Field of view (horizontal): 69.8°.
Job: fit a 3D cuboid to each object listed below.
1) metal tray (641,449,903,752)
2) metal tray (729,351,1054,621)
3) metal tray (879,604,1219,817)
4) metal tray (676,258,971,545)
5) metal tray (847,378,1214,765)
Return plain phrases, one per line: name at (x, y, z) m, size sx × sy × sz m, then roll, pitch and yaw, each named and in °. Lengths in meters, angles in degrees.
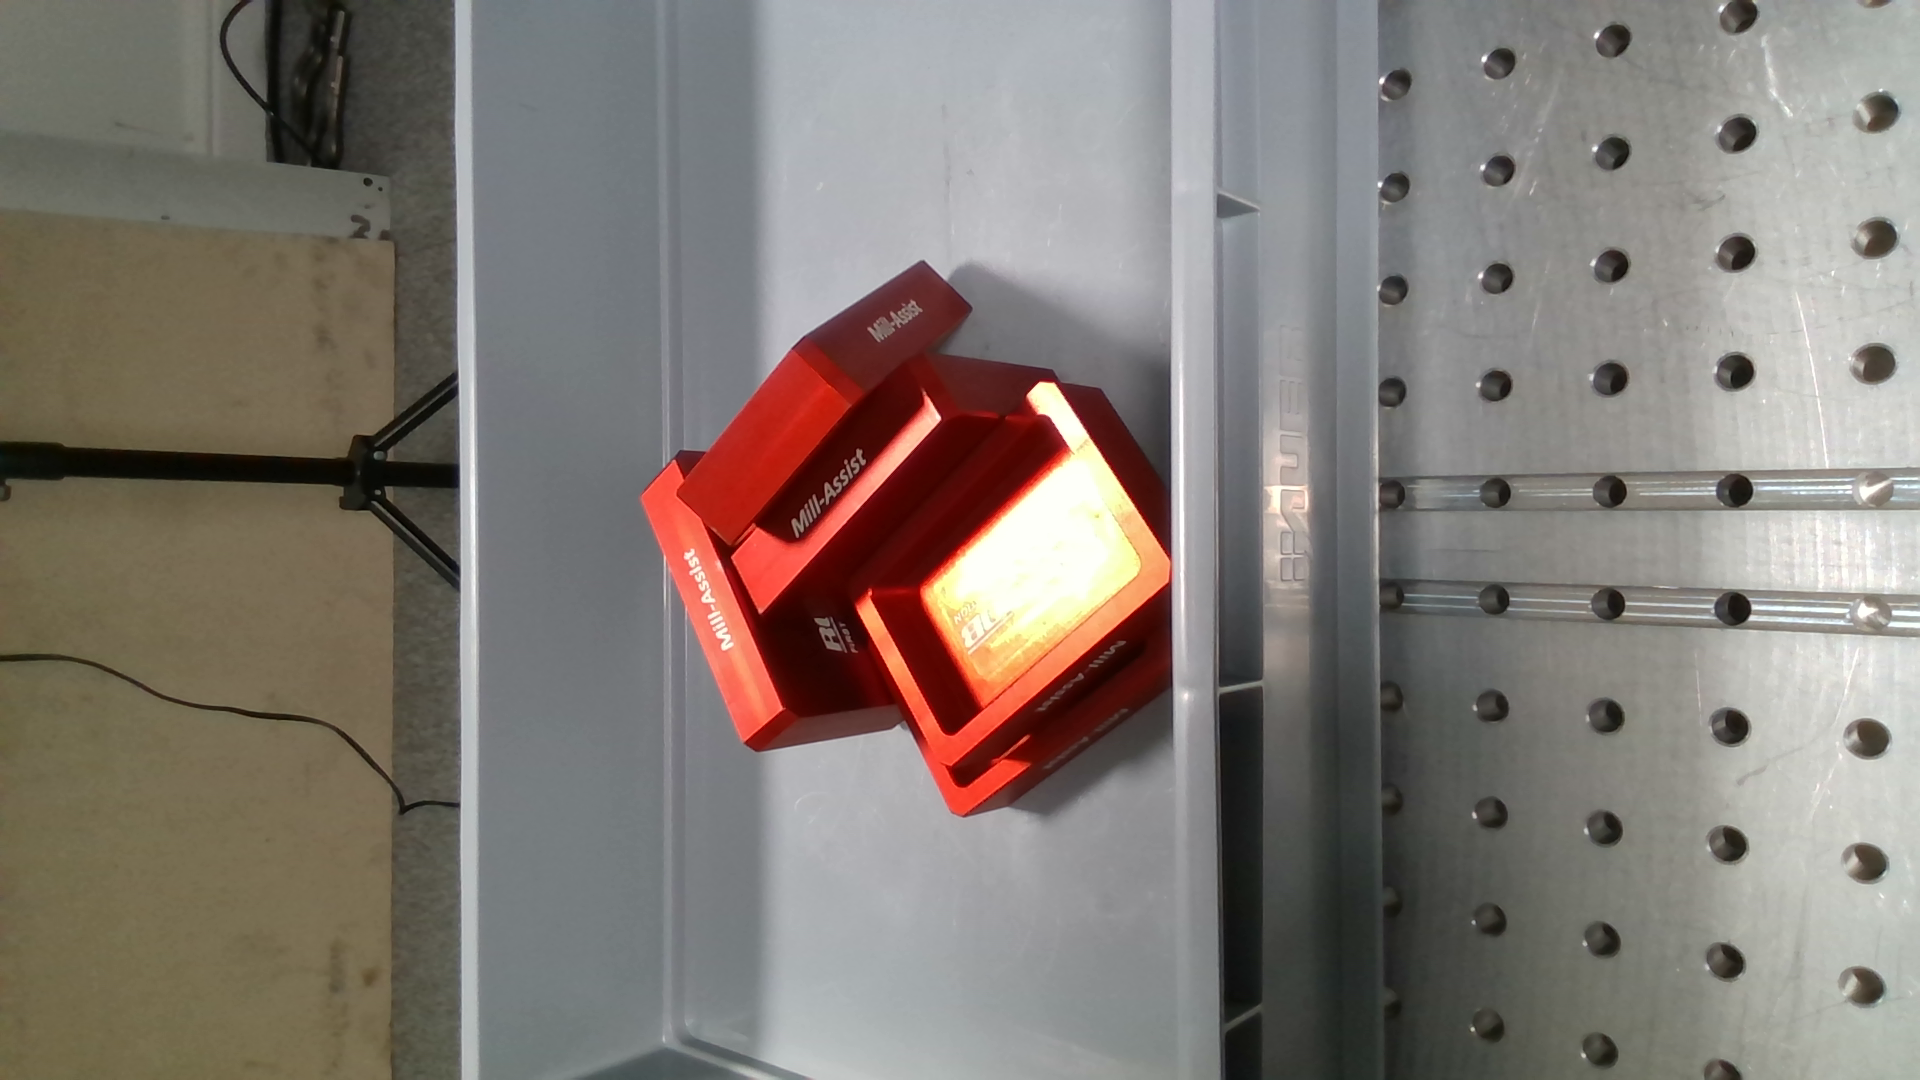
metal tray at (-0.075, 0.024, 0.601) m, size 0.030 × 0.090 × 0.130 m, roll -40°, pitch 66°, yaw 33°
metal tray at (-0.022, -0.018, 0.555) m, size 0.130 × 0.090 × 0.030 m, roll -45°, pitch 63°, yaw 31°
metal tray at (0.030, 0.042, 0.554) m, size 0.130 × 0.030 × 0.090 m, roll -41°, pitch 64°, yaw 32°
metal tray at (-0.052, -0.059, 0.557) m, size 0.030 × 0.130 × 0.090 m, roll 43°, pitch 121°, yaw -3°
metal tray at (0.022, 0.014, 0.519) m, size 0.130 × 0.030 × 0.090 m, roll -44°, pitch 63°, yaw 31°
